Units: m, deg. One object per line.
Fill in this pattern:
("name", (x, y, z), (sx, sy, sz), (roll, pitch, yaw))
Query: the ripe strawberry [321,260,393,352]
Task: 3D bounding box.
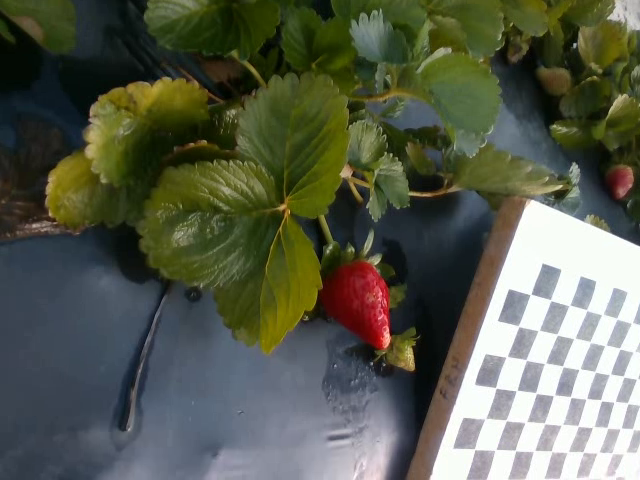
("ripe strawberry", (0.030, 0.044, 0.353), (0.043, 0.052, 0.057), (-12, 48, -23))
